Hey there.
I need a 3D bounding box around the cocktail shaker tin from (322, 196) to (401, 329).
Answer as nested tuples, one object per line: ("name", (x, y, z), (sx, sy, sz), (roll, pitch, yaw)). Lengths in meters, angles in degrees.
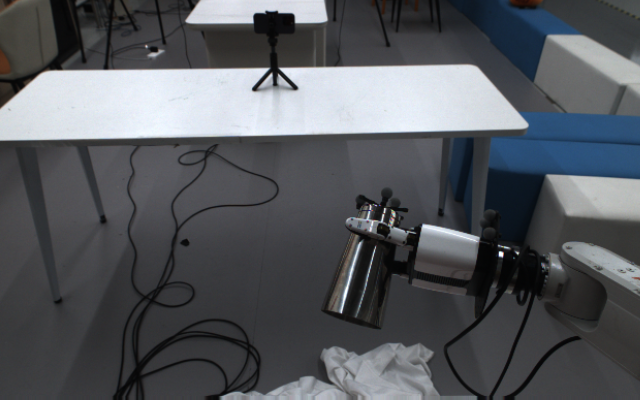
("cocktail shaker tin", (0.070, 0.094, 0.727), (0.093, 0.093, 0.170), (13, 71, 15))
